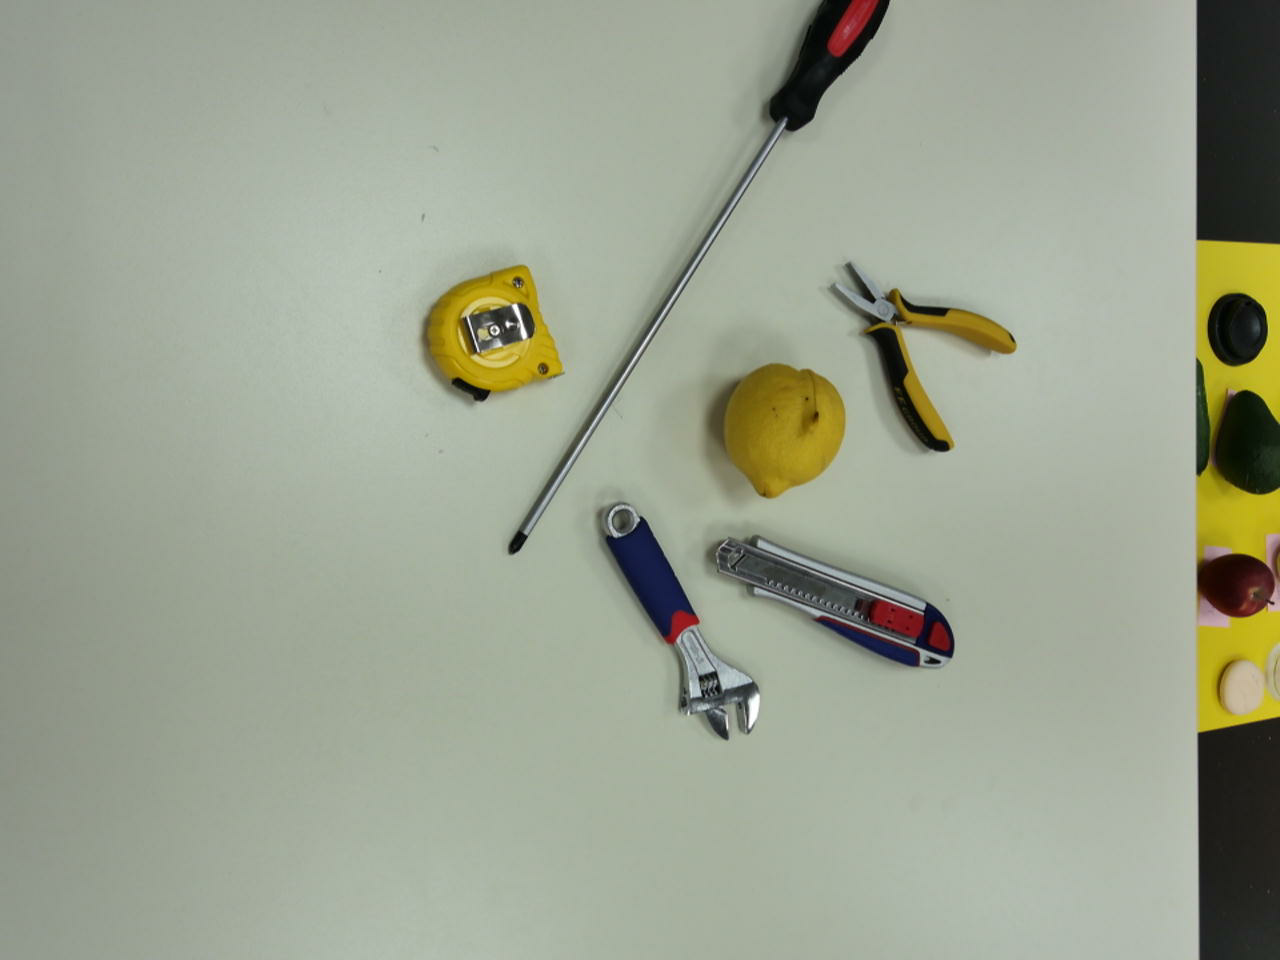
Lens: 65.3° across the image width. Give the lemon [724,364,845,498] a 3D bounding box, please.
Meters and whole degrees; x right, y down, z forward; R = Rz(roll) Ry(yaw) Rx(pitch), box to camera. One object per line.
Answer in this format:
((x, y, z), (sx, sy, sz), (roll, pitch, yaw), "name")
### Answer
((0.083, -0.031, 0.568), (0.071, 0.071, 0.070), (-37, 103, -18), "lemon")
